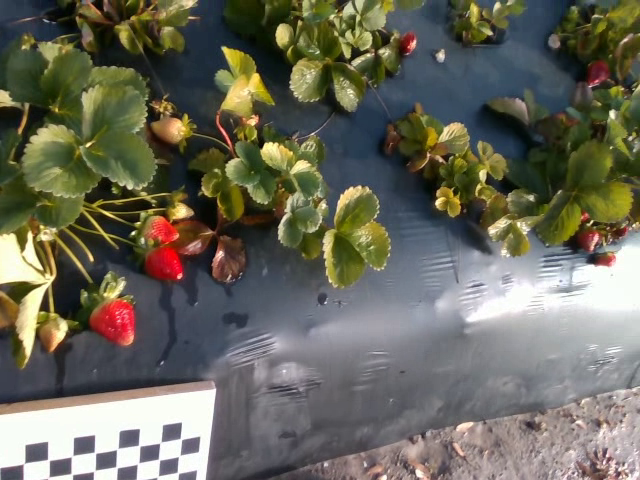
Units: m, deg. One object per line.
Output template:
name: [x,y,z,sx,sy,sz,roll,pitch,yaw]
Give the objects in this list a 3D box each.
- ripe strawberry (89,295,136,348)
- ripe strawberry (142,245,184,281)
ripe strawberry: [-0.229,0.095,0.719,0.050,0.065,0.050,-36,-24,-3]
ripe strawberry: [-0.184,0.033,0.758,0.055,0.045,0.041,36,9,20]
